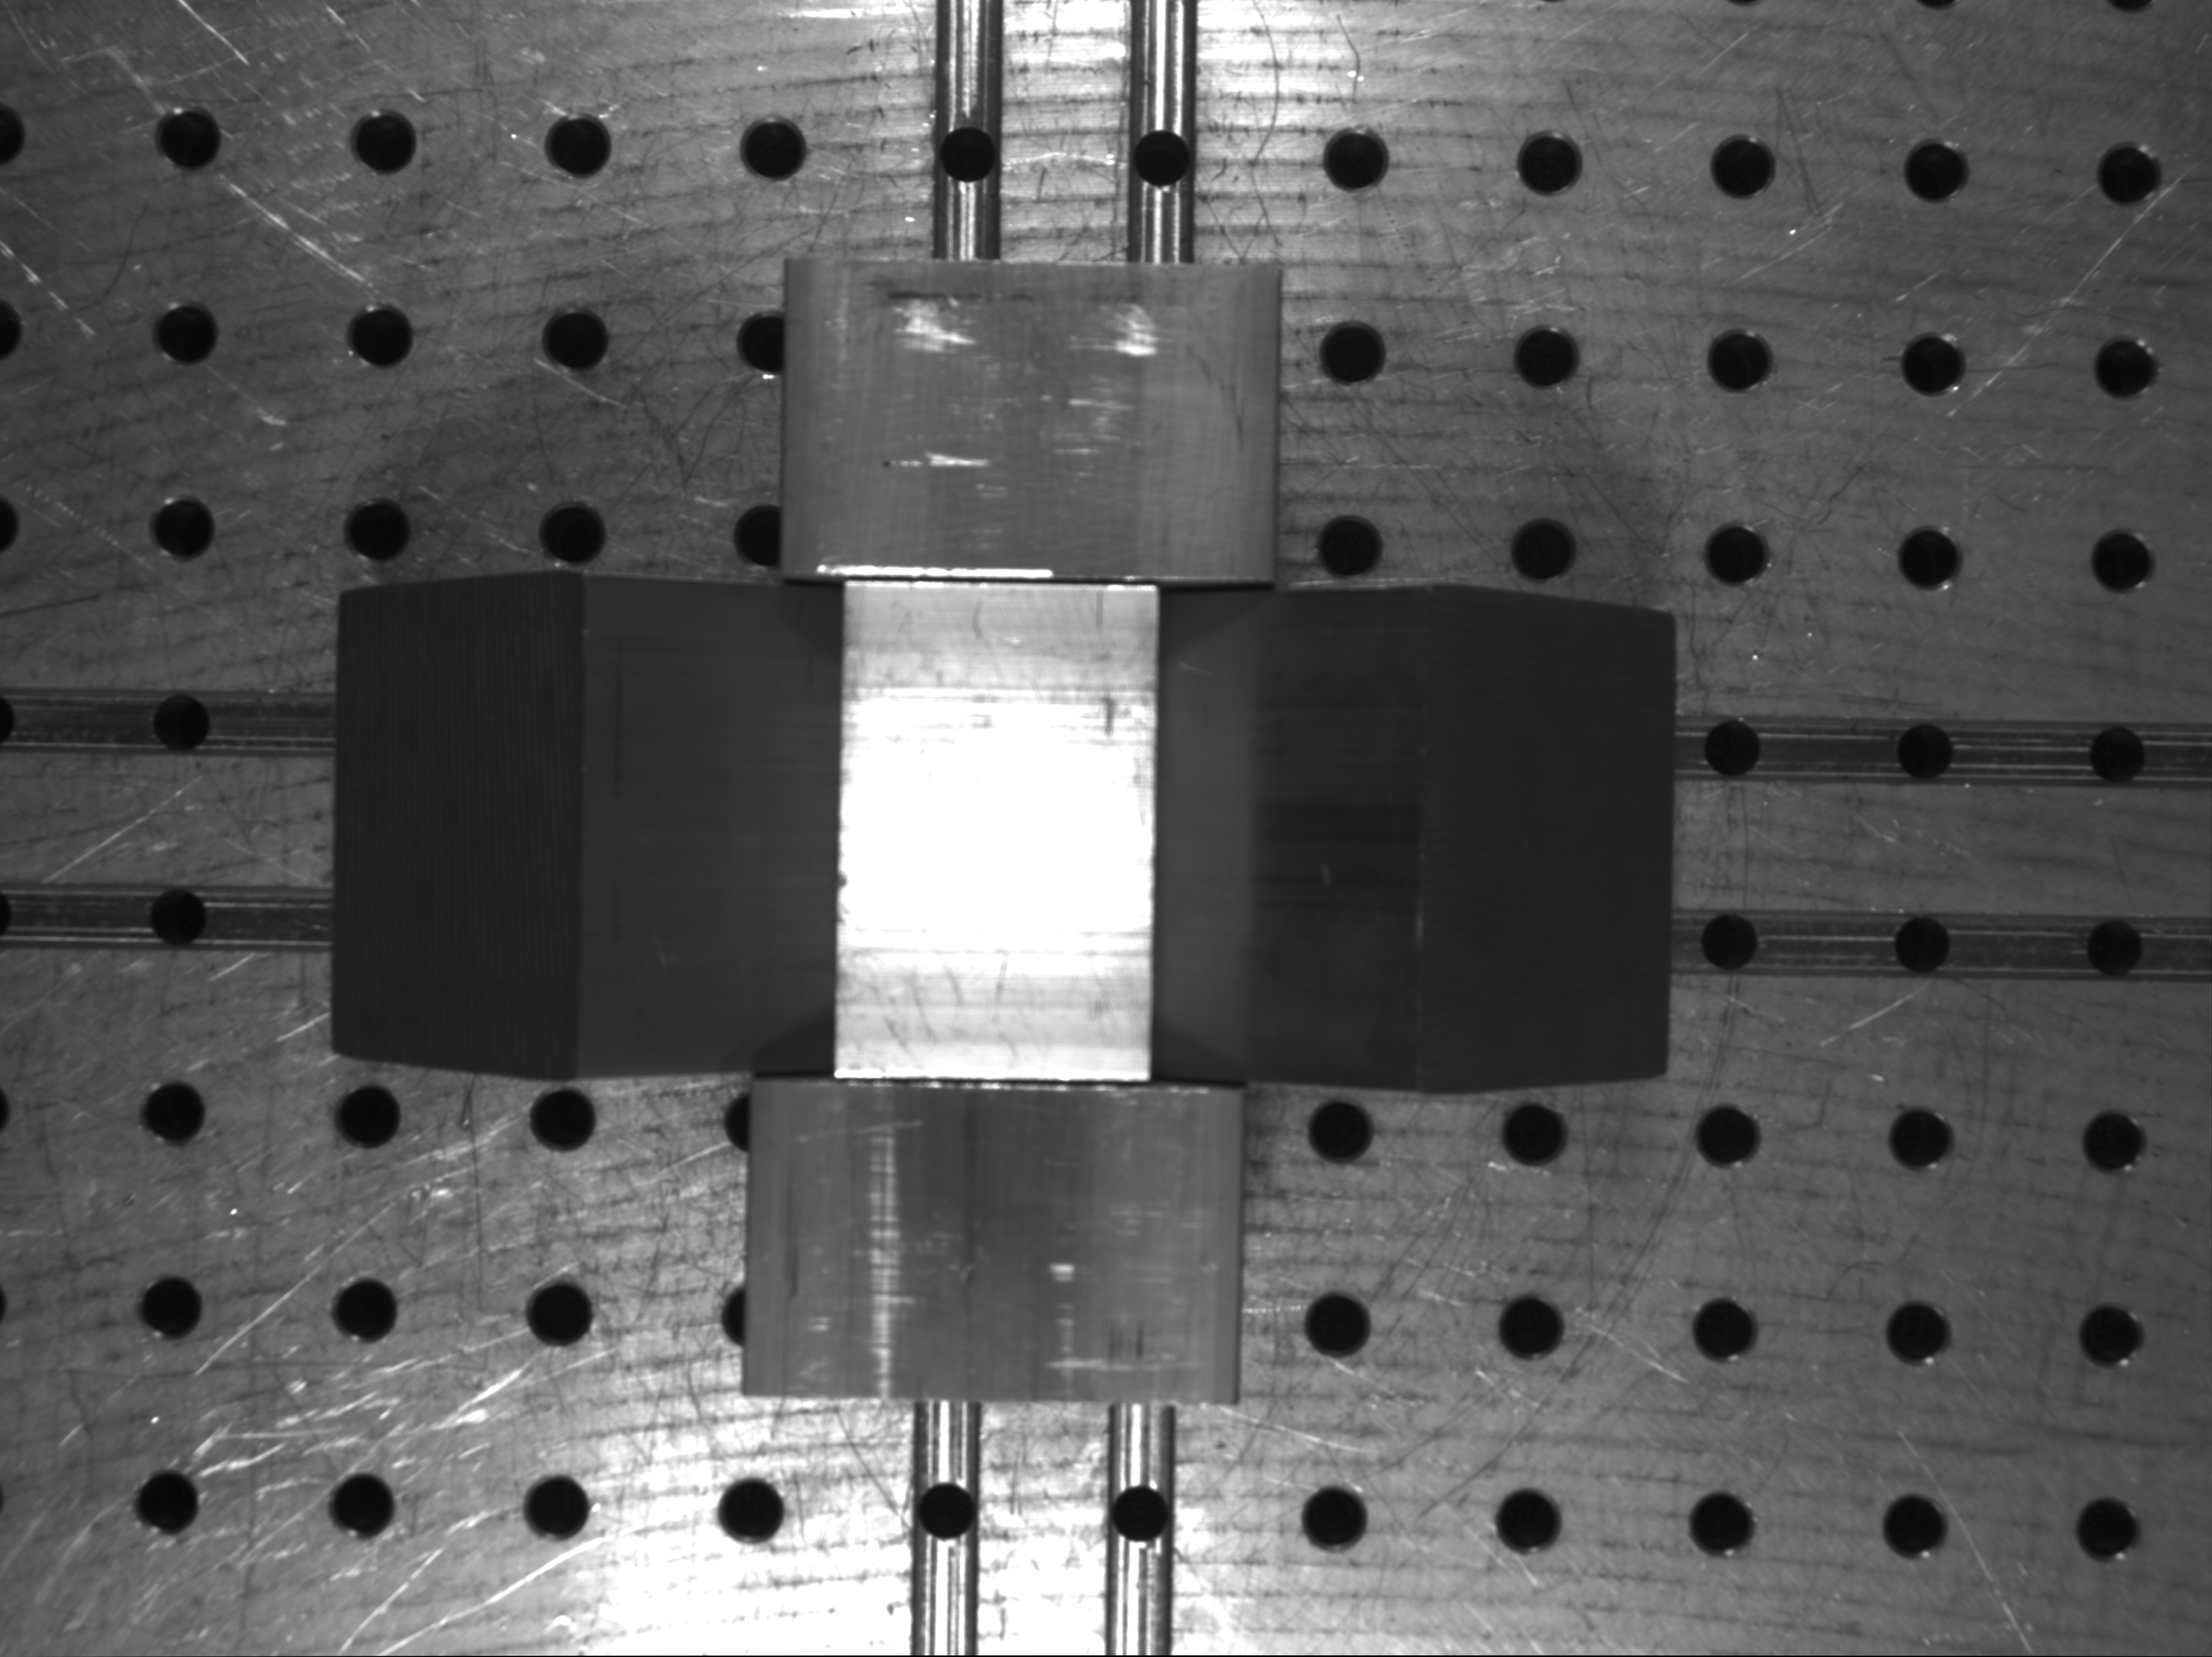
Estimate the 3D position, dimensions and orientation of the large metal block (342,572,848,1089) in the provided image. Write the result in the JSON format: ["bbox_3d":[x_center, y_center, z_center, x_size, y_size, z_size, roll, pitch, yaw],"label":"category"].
[{"bbox_3d":[-0.086,0.000,0.613,0.050,0.080,0.080,1,91,-40],"label":"large metal block"}]

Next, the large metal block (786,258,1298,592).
[{"bbox_3d":[-0.010,-0.064,0.619,0.080,0.080,0.050,1,90,0],"label":"large metal block"}]

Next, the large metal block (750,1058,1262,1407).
[{"bbox_3d":[-0.016,0.066,0.619,0.080,0.080,0.050,1,90,0],"label":"large metal block"}]

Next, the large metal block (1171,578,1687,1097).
[{"bbox_3d":[0.055,0.002,0.612,0.050,0.080,0.080,1,89,37],"label":"large metal block"}]

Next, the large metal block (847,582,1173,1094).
[{"bbox_3d":[-0.015,0.002,0.619,0.050,0.080,0.080,1,90,0],"label":"large metal block"}]
